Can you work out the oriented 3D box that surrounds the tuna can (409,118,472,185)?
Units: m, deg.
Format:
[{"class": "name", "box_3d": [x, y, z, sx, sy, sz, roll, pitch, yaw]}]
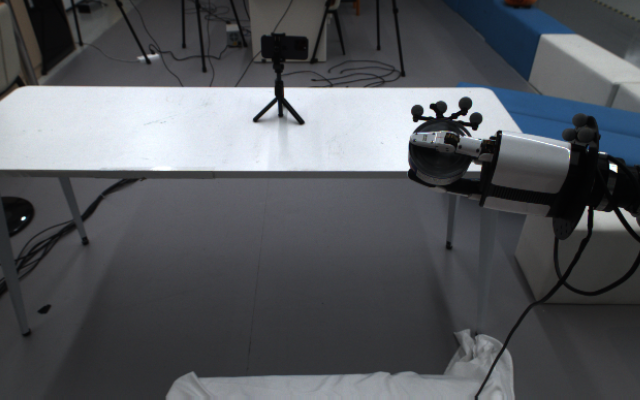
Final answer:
[{"class": "tuna can", "box_3d": [0.162, -0.068, 0.654, 0.085, 0.034, 0.085, -2, 70, 7]}]
